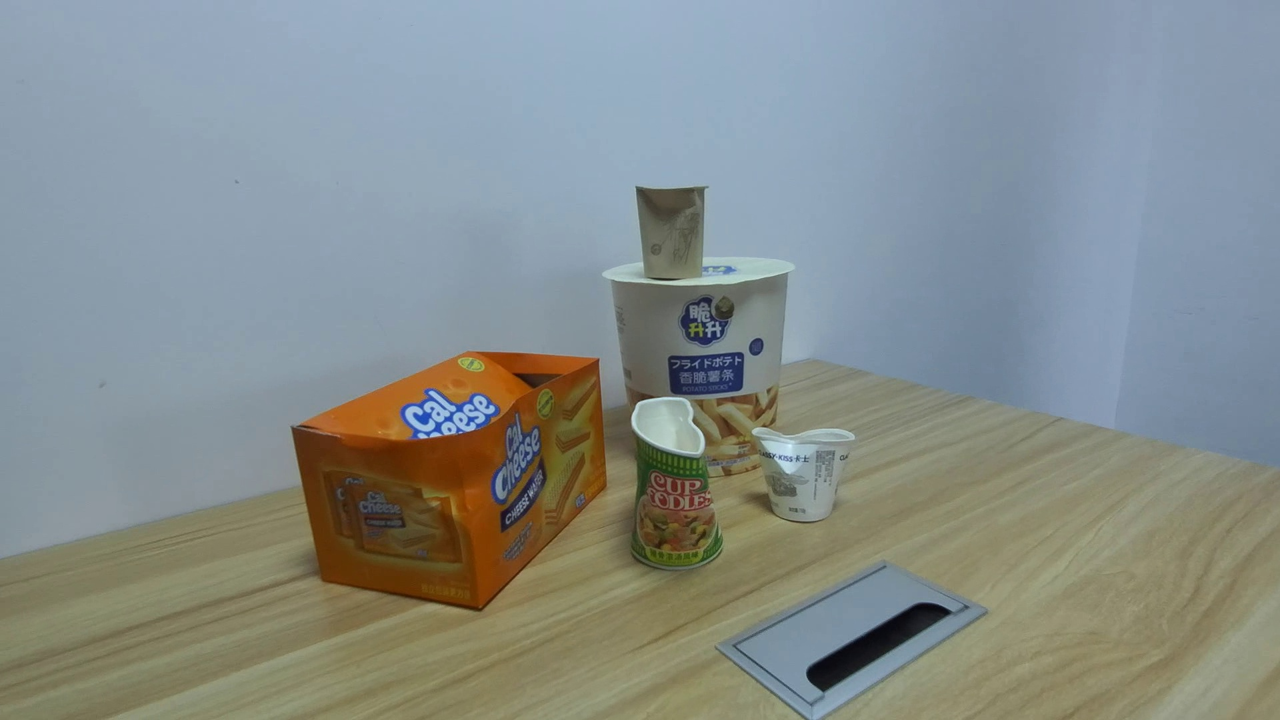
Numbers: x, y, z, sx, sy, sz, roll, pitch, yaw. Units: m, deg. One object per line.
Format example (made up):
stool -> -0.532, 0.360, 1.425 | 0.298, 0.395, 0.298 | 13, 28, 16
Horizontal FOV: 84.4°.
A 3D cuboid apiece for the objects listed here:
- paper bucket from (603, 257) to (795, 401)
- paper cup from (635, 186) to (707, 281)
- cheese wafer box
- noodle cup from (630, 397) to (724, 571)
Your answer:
paper bucket -> 0.061, 0.003, 0.722 | 0.198, 0.194, 0.198 | -2, 14, 1
paper cup -> 0.034, -0.118, 0.652 | 0.066, 0.084, 0.072 | 4, 11, 26
cheese wafer box -> -0.138, 0.085, 0.586 | 0.152, 0.132, 0.231 | 4, 15, 21
noodle cup -> 0.026, 0.094, 0.537 | 0.070, 0.111, 0.115 | 1, 15, 18
